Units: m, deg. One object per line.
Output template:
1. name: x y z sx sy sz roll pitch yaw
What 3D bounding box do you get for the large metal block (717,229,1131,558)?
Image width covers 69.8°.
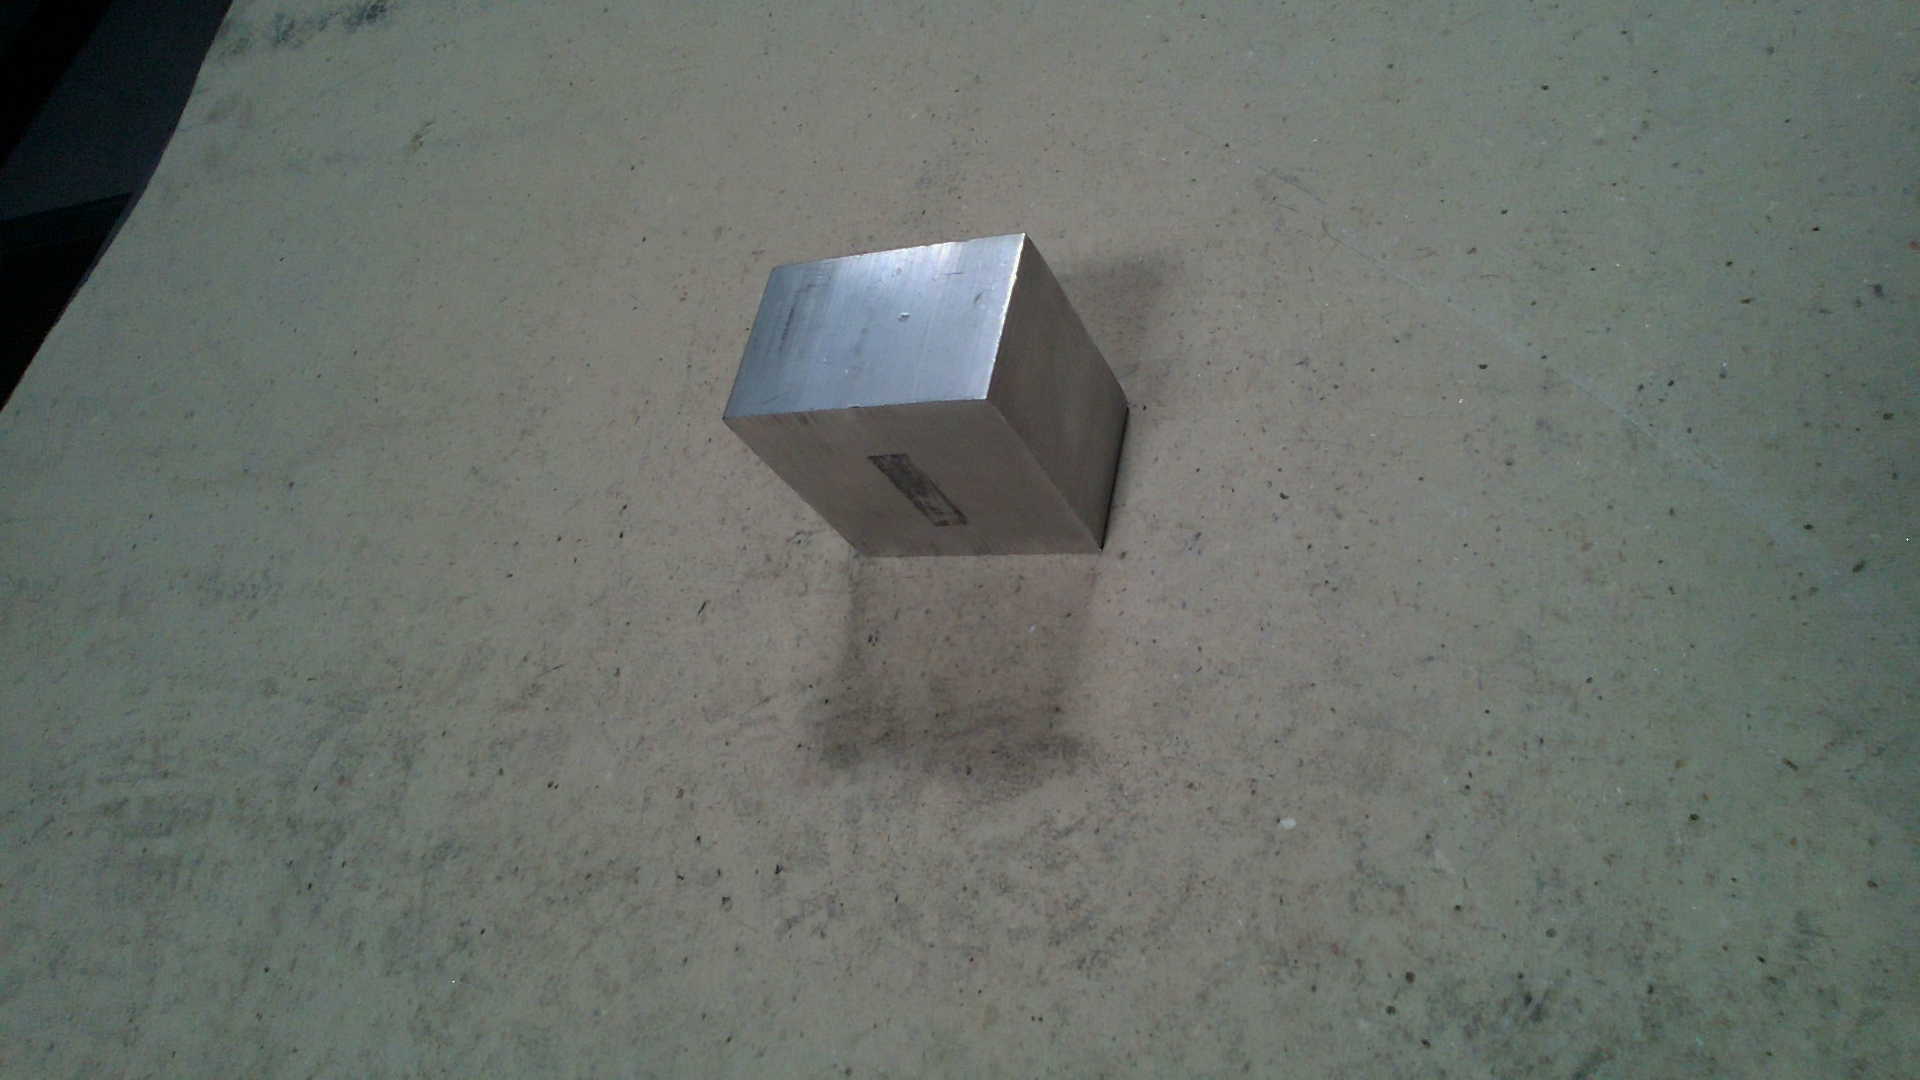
1. large metal block: -0.007 -0.036 0.385 0.080 0.080 0.050 -2 61 28
